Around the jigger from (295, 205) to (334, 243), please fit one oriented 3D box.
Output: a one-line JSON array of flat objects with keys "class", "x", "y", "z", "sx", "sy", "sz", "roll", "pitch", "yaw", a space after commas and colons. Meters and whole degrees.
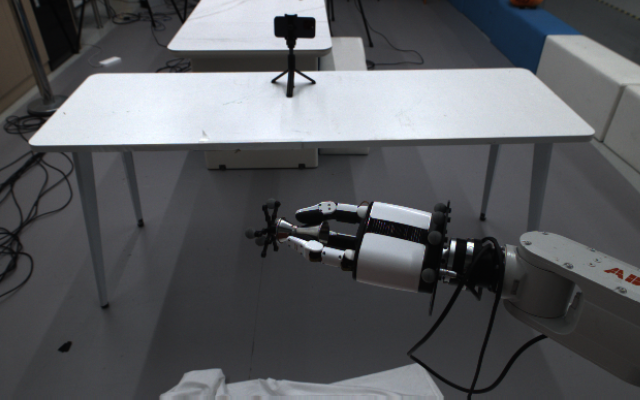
[{"class": "jigger", "x": -0.017, "y": 0.041, "z": 0.702, "sx": 0.071, "sy": 0.043, "sz": 0.043, "roll": 5, "pitch": 34, "yaw": 20}]
